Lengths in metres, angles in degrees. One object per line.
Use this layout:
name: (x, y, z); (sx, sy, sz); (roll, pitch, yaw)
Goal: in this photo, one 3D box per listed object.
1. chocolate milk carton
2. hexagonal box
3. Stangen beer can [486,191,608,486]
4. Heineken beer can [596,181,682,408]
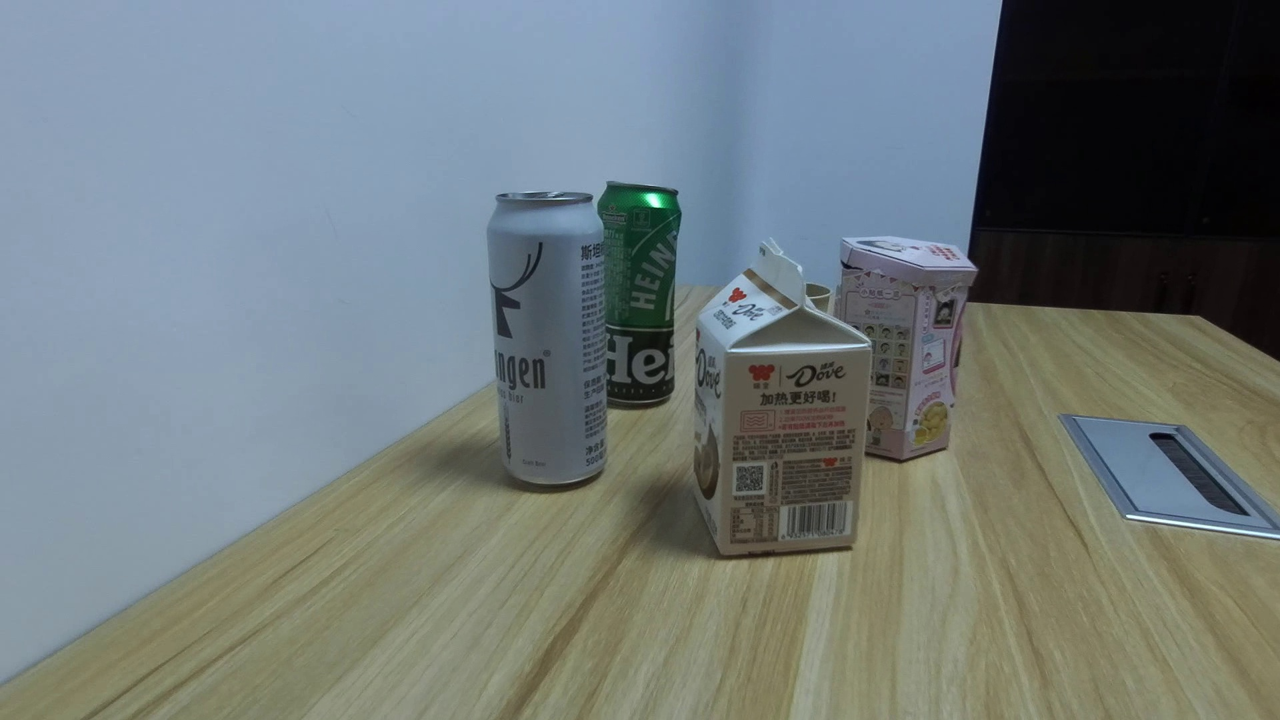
chocolate milk carton: (0.071, 0.016, 0.365); (0.074, 0.148, 0.075); (-3, 17, -6)
hexagonal box: (0.169, -0.011, 0.477); (0.085, 0.135, 0.092); (2, 18, 3)
Stangen beer can: (-0.053, -0.011, 0.424); (0.067, 0.171, 0.067); (0, 16, 0)
Heineken beer can: (-0.001, -0.049, 0.549); (0.069, 0.168, 0.068); (7, 14, 16)
